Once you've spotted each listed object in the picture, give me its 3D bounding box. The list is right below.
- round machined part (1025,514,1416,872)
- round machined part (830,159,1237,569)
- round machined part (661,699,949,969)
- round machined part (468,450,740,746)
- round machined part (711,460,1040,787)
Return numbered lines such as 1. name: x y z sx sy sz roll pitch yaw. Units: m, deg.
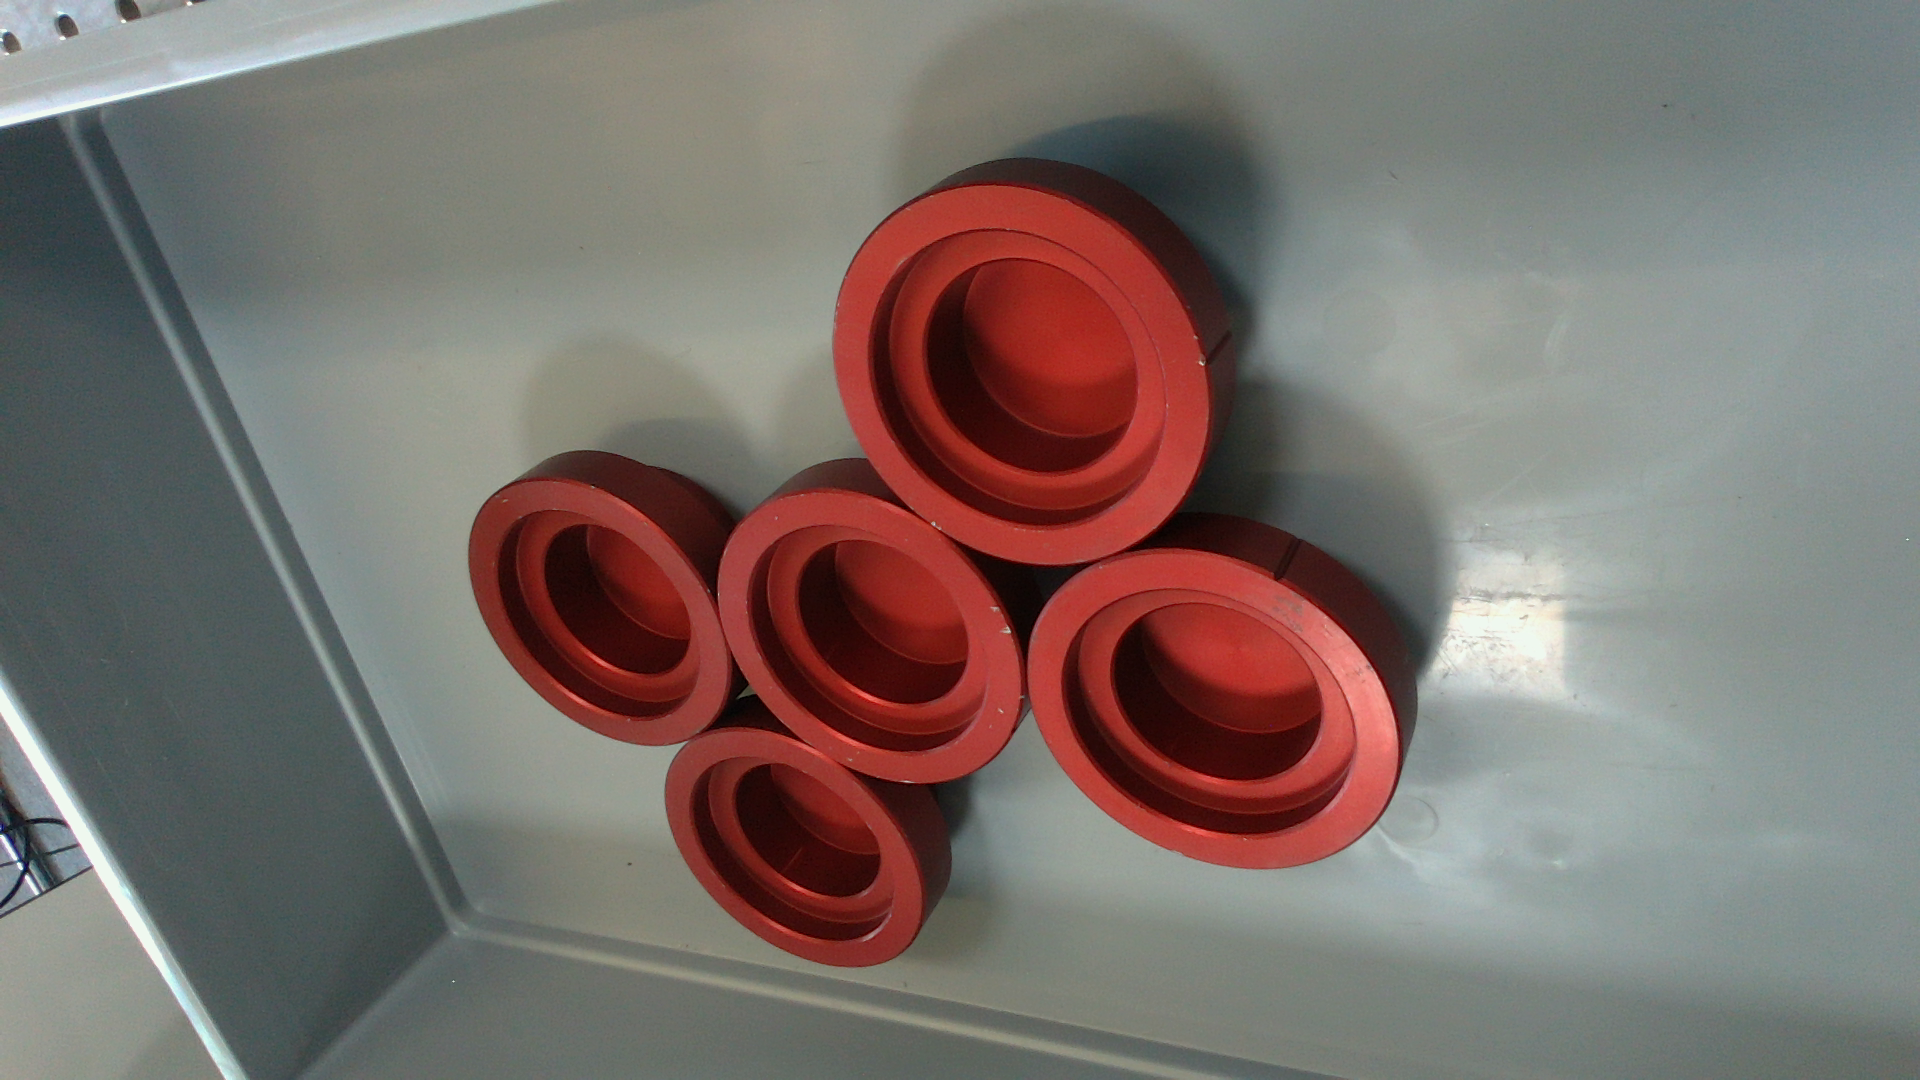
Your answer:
1. round machined part: 0.070 0.036 0.364 0.098 0.042 0.098 13 124 21
2. round machined part: 0.021 -0.045 0.340 0.098 0.042 0.098 13 124 21
3. round machined part: -0.047 0.092 0.461 0.098 0.042 0.098 13 124 21
4. round machined part: -0.106 0.015 0.446 0.098 0.042 0.098 13 124 21
5. round machined part: -0.020 0.020 0.401 0.098 0.042 0.098 13 124 21
